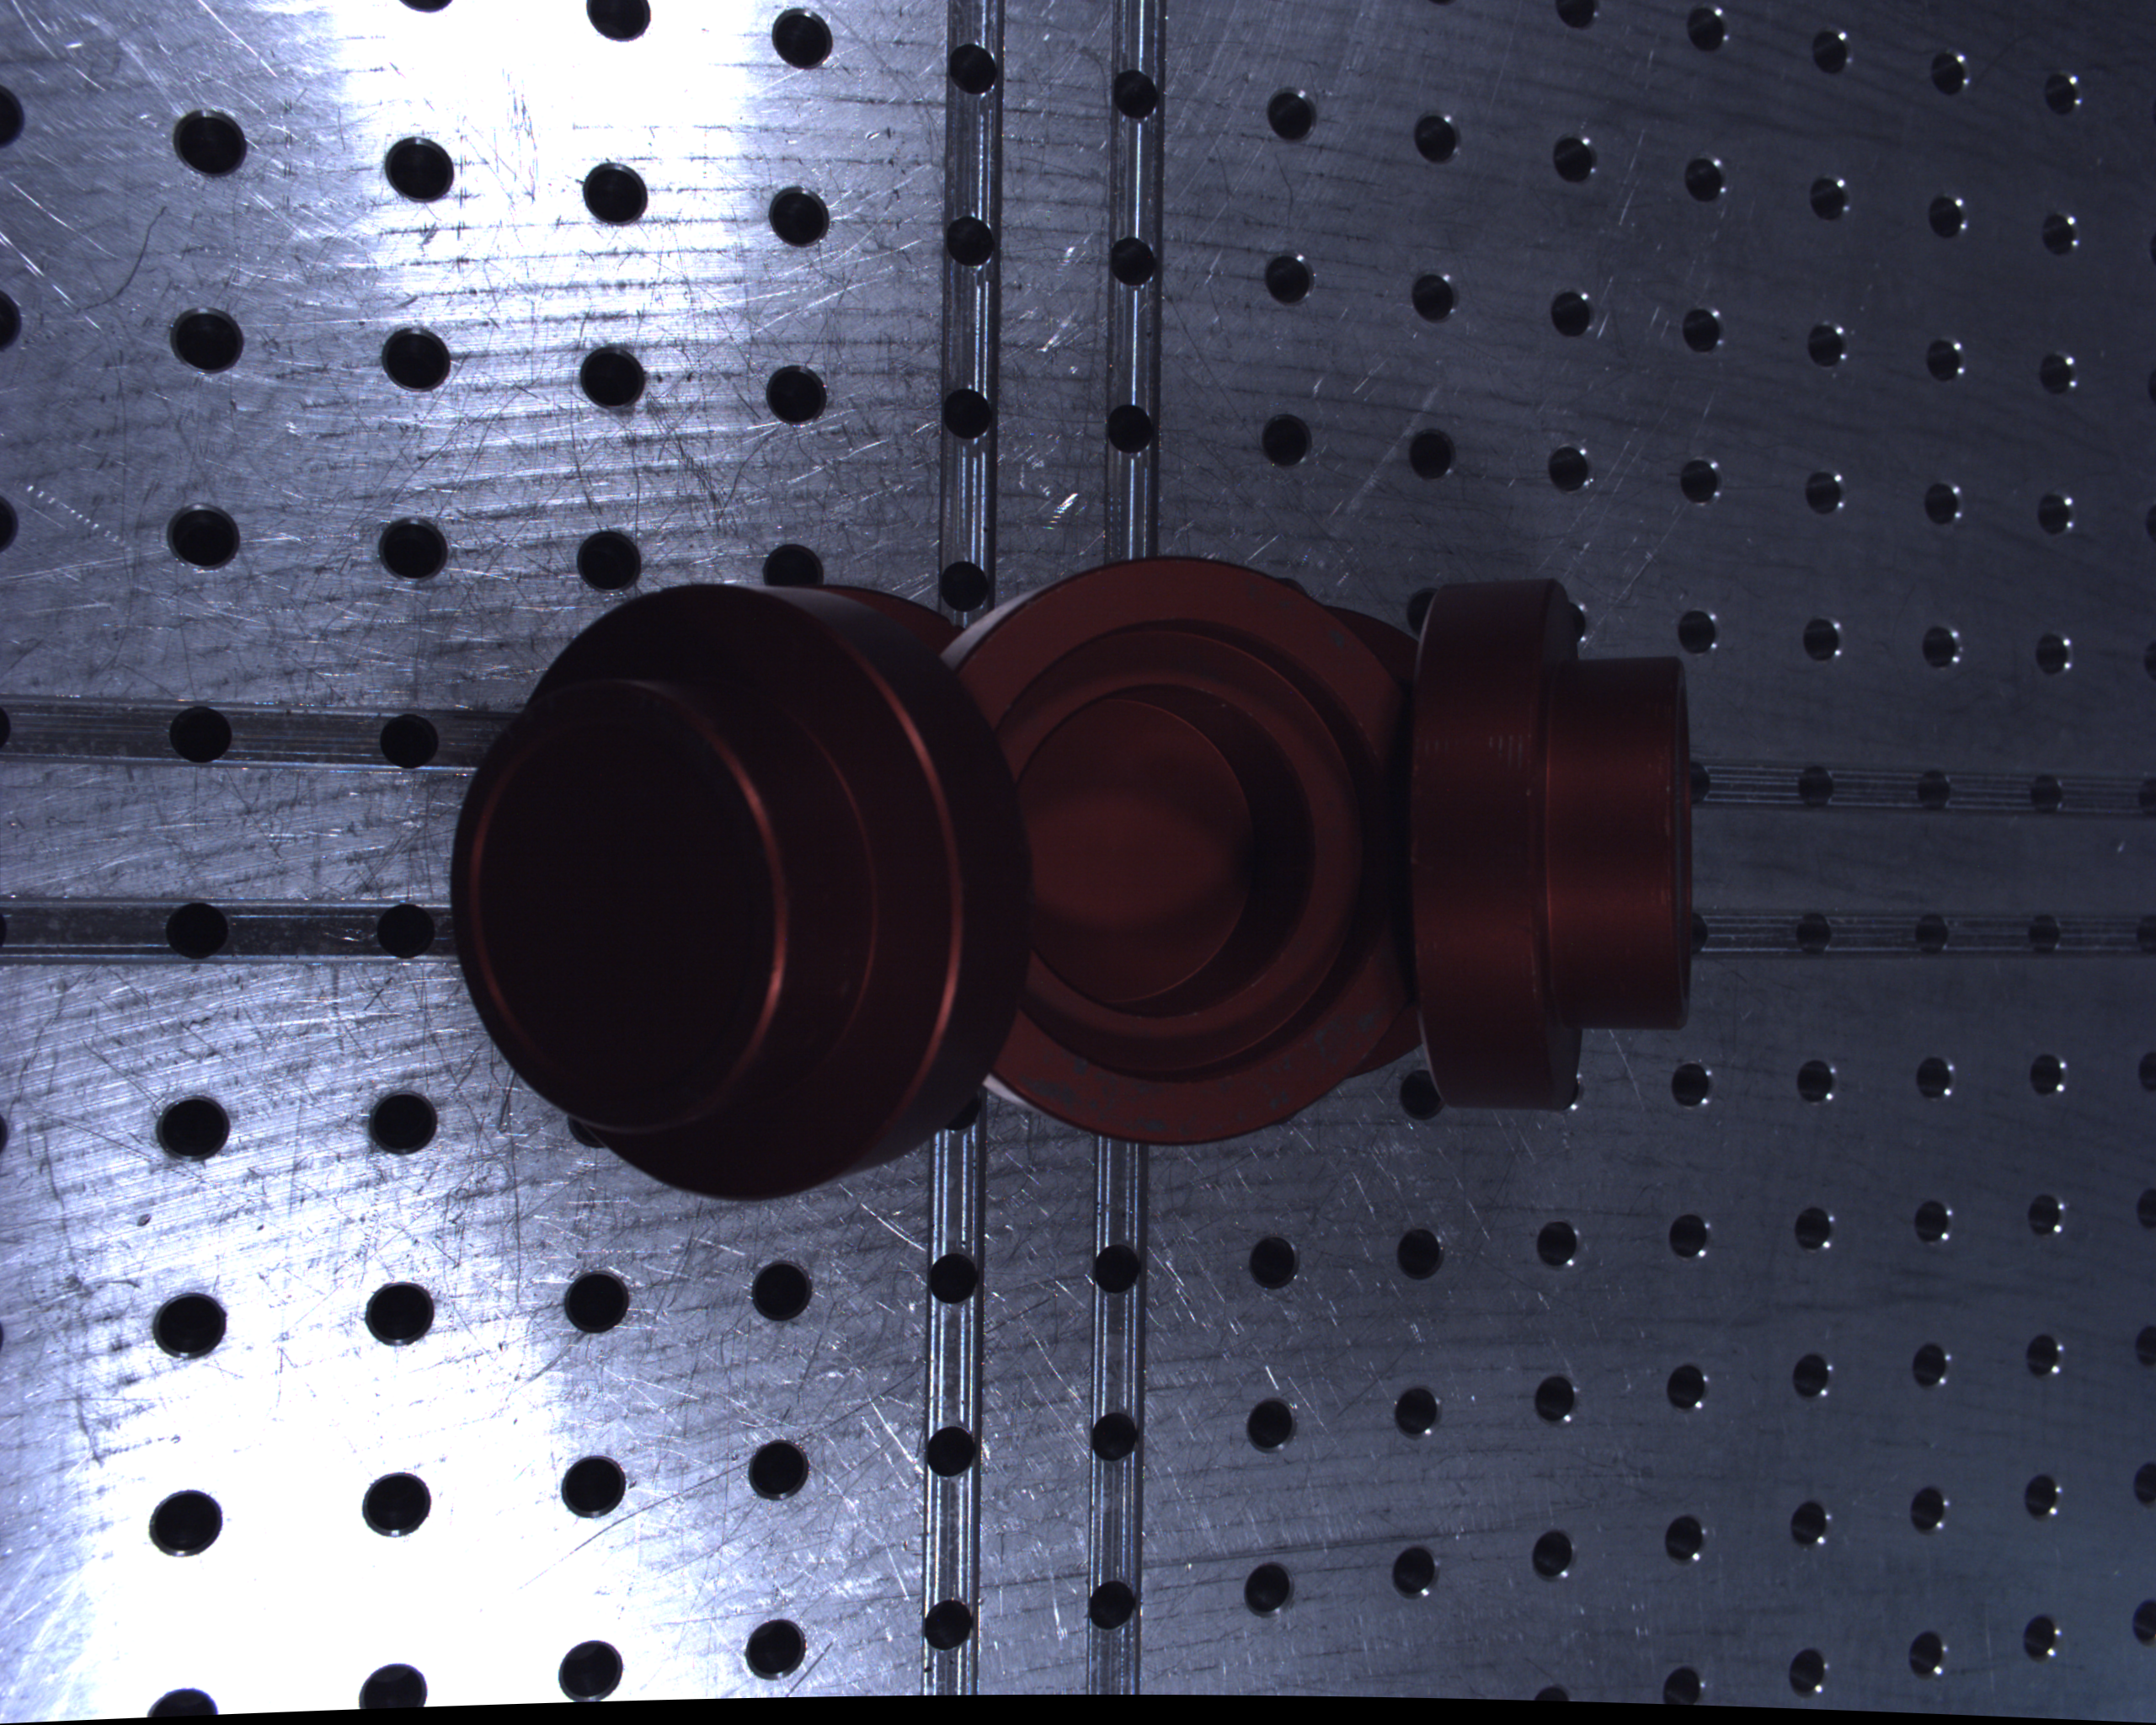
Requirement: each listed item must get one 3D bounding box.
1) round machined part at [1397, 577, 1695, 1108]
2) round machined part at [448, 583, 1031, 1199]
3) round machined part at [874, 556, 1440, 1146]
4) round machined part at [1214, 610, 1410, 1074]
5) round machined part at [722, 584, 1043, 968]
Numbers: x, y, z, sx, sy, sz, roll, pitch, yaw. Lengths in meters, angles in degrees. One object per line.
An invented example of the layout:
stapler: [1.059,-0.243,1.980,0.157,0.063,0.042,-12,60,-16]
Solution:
round machined part: [0.089,-0.004,0.384,0.042,0.098,0.097,0,90,20]
round machined part: [-0.060,0.005,0.328,0.042,0.098,0.097,-9,94,-58]
round machined part: [0.011,-0.002,0.363,0.099,0.042,0.097,0,90,-21]
round machined part: [0.047,-0.003,0.422,0.099,0.042,0.097,0,90,-21]
round machined part: [-0.045,-0.003,0.387,0.099,0.042,0.097,0,90,-21]
